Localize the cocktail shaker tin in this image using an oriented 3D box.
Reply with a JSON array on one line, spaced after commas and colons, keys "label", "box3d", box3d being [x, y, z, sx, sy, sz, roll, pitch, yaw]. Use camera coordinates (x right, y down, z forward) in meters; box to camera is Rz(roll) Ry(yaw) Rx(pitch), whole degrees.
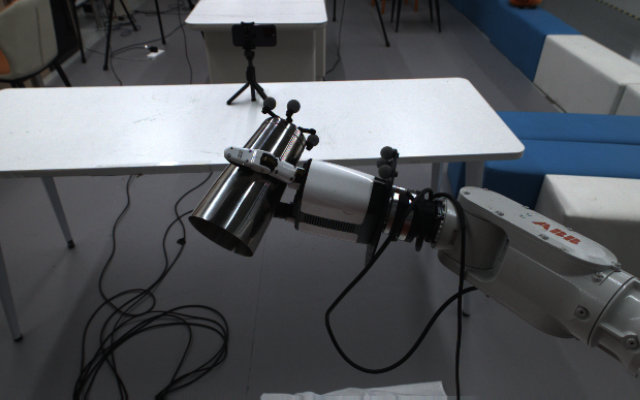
[{"label": "cocktail shaker tin", "box3d": [-0.083, -0.024, 0.627, 0.093, 0.093, 0.170, 18, 66, 21]}]
